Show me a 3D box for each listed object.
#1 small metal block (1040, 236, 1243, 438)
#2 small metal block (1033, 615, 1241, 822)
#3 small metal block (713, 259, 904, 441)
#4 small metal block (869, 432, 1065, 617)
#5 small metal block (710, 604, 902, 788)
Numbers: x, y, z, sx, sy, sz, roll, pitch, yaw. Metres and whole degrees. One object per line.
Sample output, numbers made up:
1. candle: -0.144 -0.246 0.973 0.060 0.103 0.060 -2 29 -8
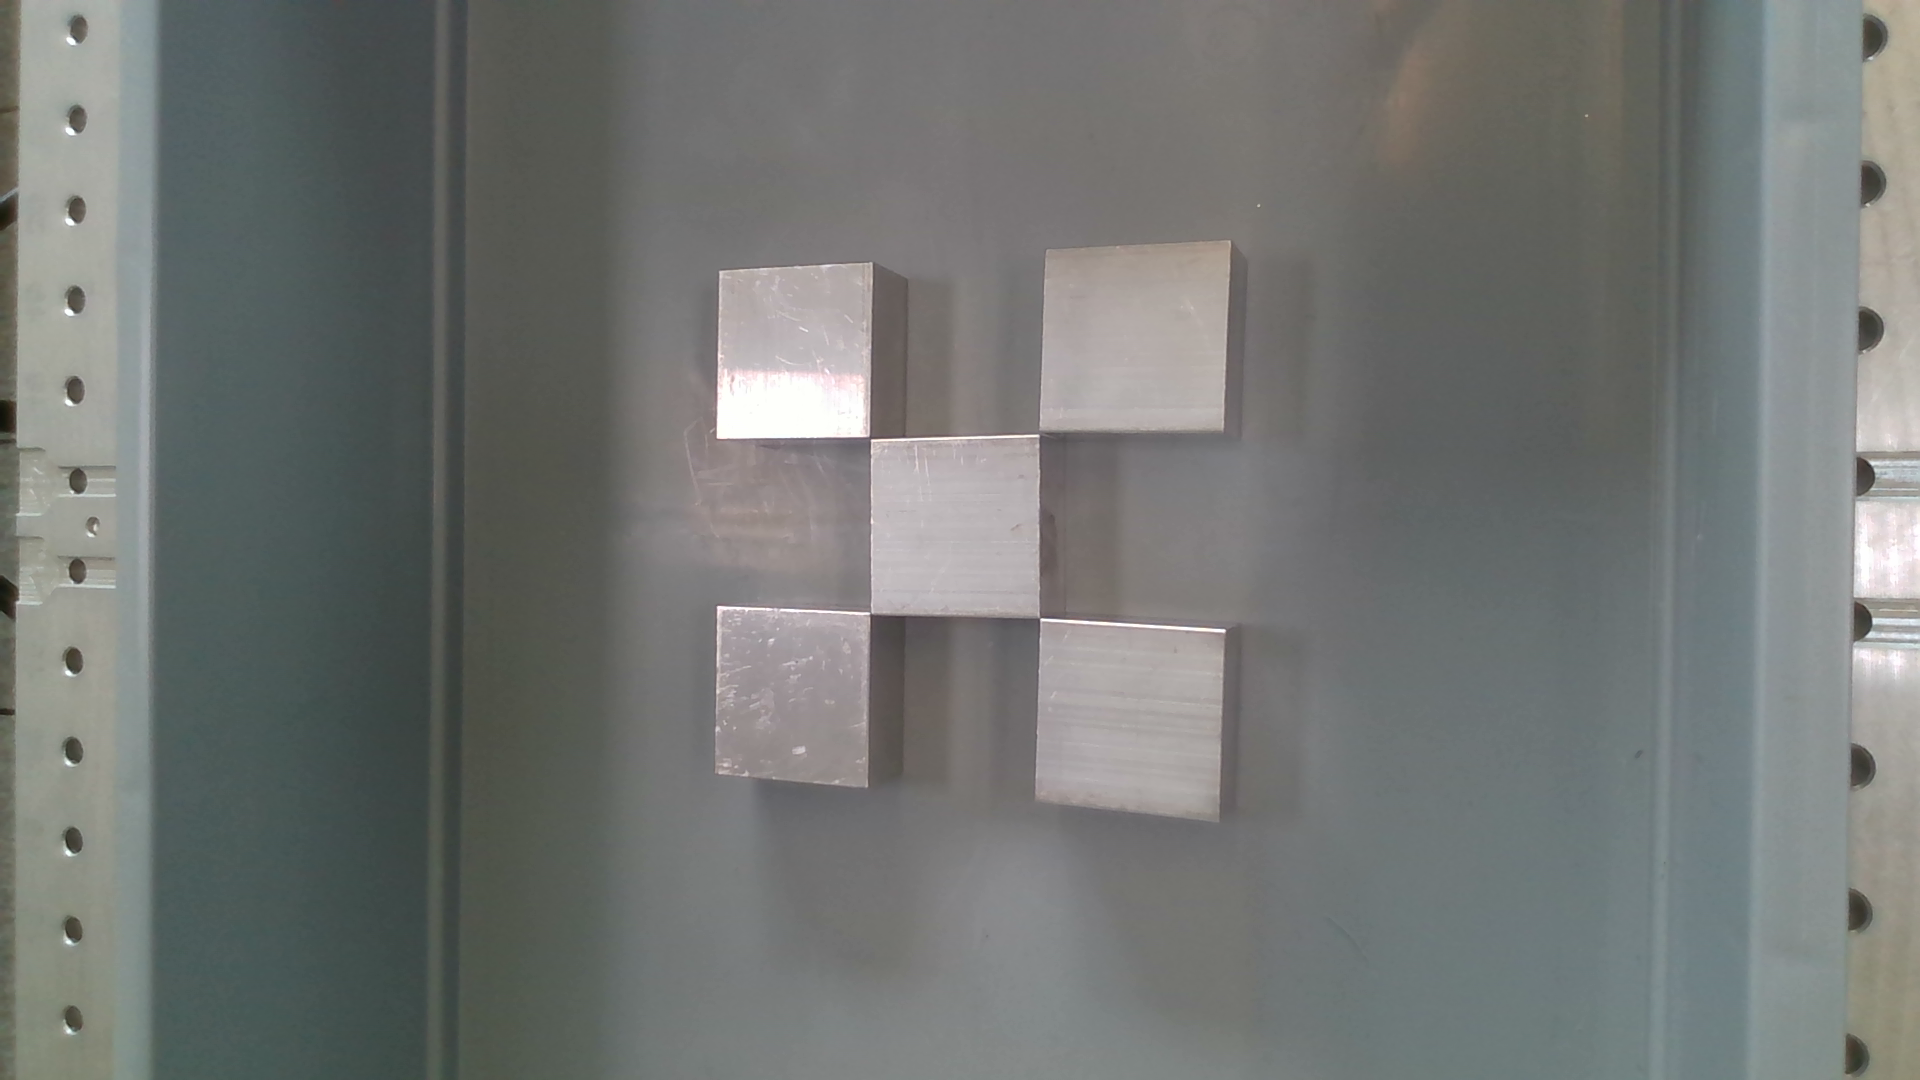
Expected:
1. small metal block: 0.050 -0.054 0.374 0.050 0.025 0.050 2 91 20
2. small metal block: 0.048 0.047 0.374 0.050 0.025 0.050 3 91 20
3. small metal block: -0.045 -0.054 0.408 0.050 0.025 0.050 1 91 20
4. small metal block: 0.002 -0.004 0.391 0.050 0.025 0.050 0 90 20
5. small metal block: -0.045 0.045 0.409 0.050 0.025 0.050 1 91 20
